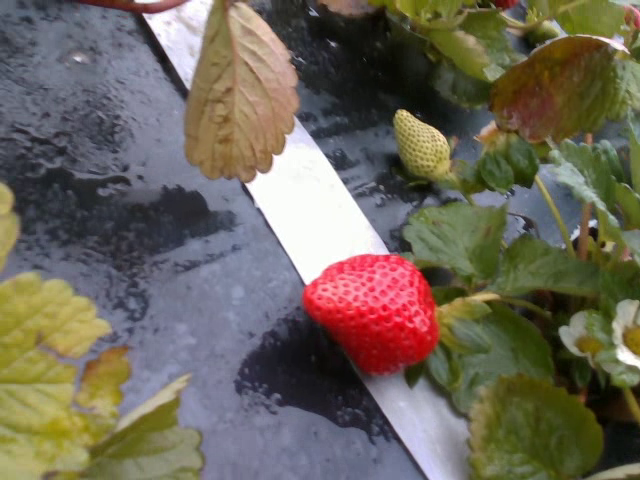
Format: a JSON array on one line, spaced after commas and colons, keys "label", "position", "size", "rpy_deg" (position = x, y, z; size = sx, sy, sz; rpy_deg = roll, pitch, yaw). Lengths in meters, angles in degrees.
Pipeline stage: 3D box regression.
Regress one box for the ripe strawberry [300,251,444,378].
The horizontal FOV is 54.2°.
[{"label": "ripe strawberry", "position": [0.011, 0.018, 0.175], "size": [0.037, 0.042, 0.051], "rpy_deg": [-9, -15, 42]}]
